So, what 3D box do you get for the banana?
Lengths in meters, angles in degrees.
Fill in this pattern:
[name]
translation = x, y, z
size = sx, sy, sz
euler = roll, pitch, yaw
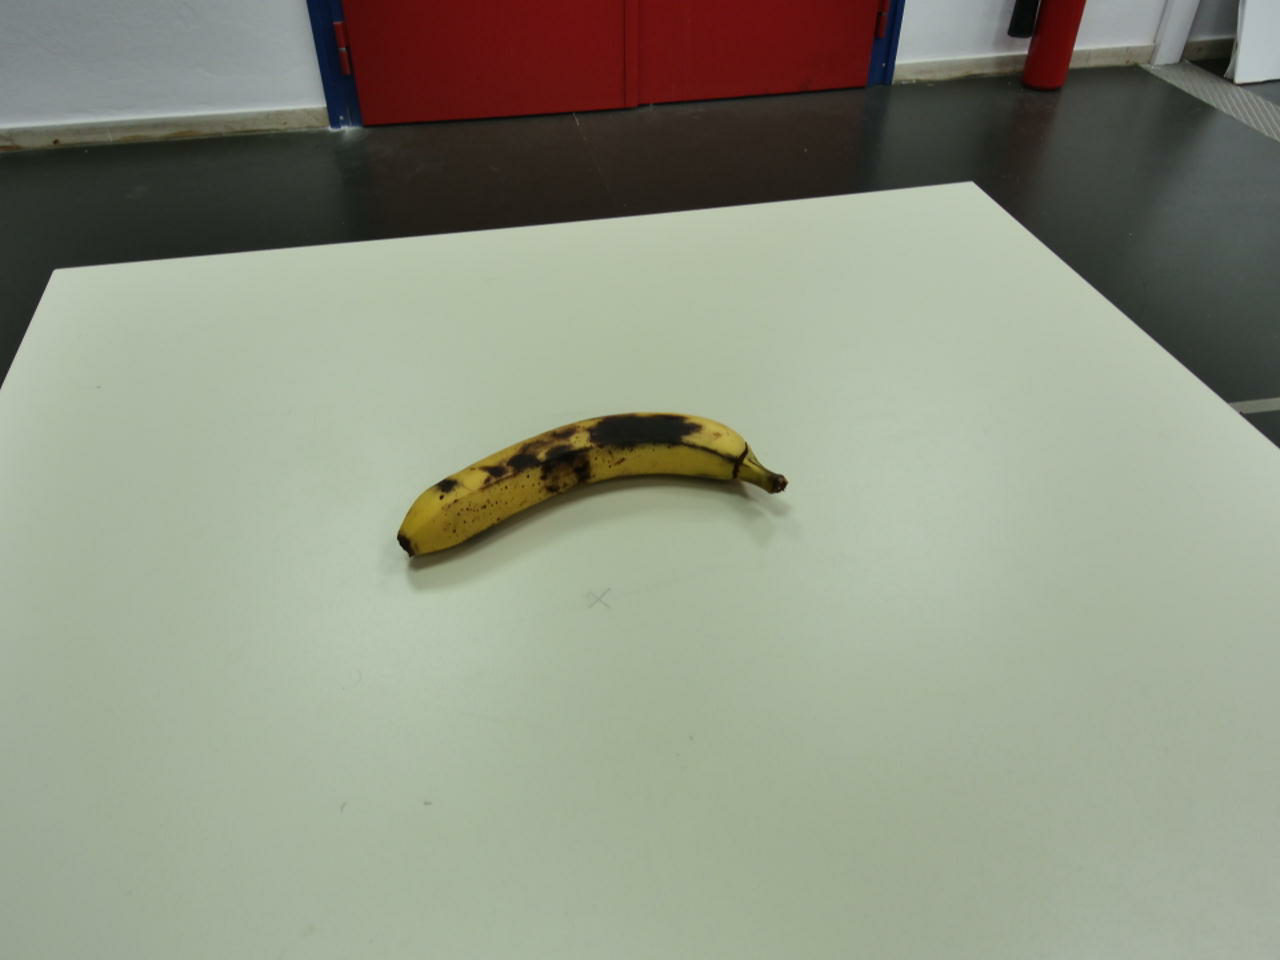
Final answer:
[banana]
translation = -0.030, -0.004, 0.587
size = 0.222, 0.037, 0.084
euler = -8, 40, -10
